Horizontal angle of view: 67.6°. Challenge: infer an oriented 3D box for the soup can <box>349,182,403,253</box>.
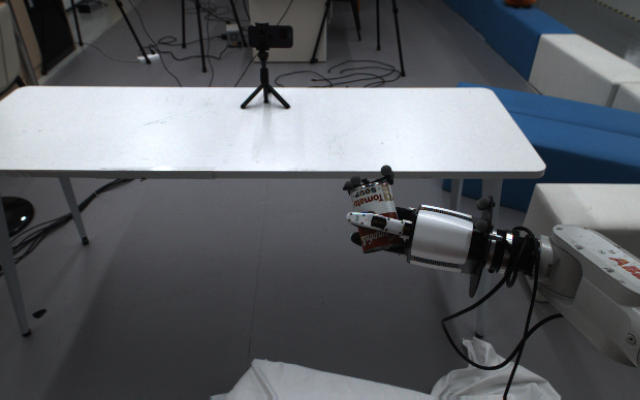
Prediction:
[{"bbox_3d":[0.091,0.029,0.772,0.067,0.067,0.101,-10,80,-16],"label":"soup can"}]
